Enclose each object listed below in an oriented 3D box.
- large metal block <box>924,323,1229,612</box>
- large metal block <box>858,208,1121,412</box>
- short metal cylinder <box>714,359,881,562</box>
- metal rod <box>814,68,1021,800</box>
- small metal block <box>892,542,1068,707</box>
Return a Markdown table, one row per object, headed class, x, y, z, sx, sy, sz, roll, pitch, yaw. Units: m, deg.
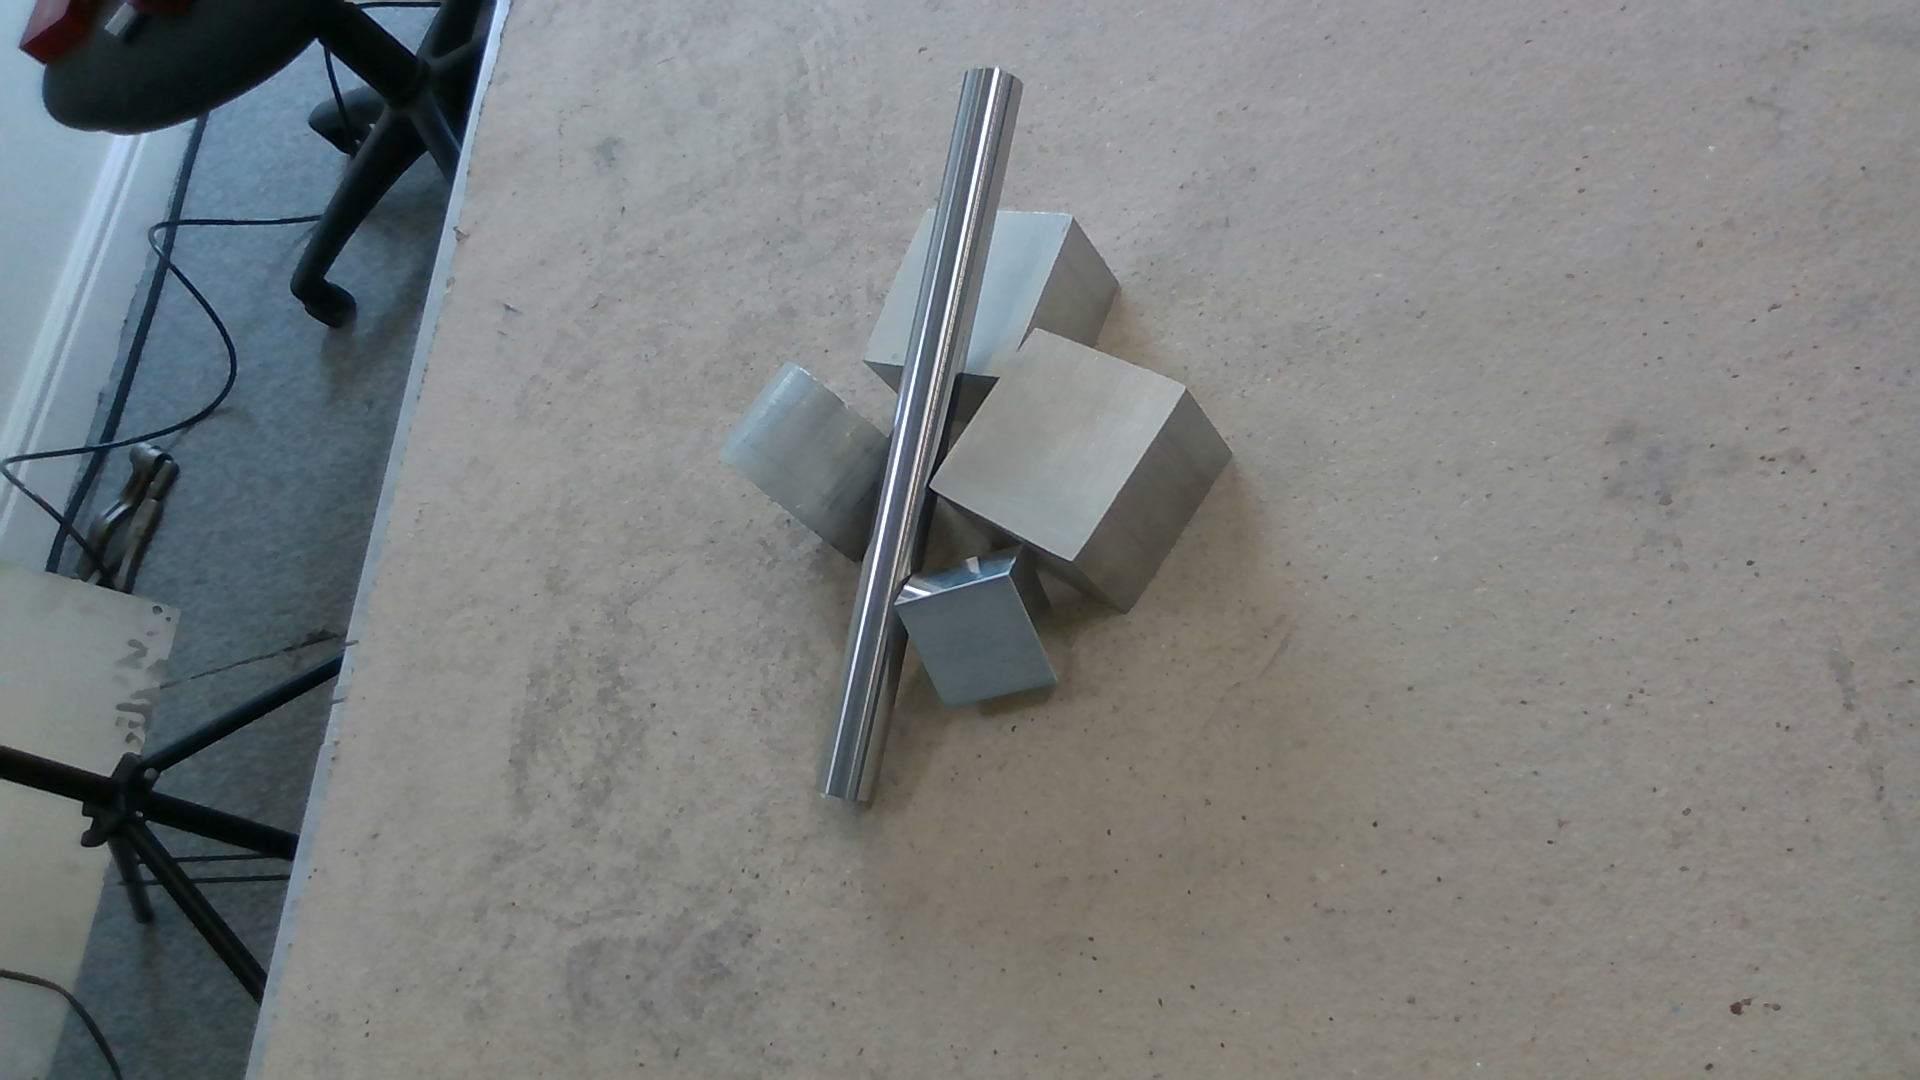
| class | x | y | z | sx | sy | sz | roll | pitch | yaw |
| --- | --- | --- | --- | --- | --- | --- | --- | --- | --- |
| large metal block | 0.047 | -0.030 | 0.554 | 0.080 | 0.050 | 0.080 | 29 | 83 | 39 |
| large metal block | 0.014 | -0.099 | 0.614 | 0.080 | 0.050 | 0.080 | 12 | 72 | 35 |
| short metal cylinder | -0.061 | -0.035 | 0.606 | 0.050 | 0.080 | 0.080 | -51 | 51 | -1 |
| metal rod | -0.017 | -0.044 | 0.567 | 0.025 | 0.025 | 0.300 | 10 | 88 | 35 |
| small metal block | 0.009 | 0.034 | 0.544 | 0.050 | 0.050 | 0.025 | -16 | 22 | 24 |
